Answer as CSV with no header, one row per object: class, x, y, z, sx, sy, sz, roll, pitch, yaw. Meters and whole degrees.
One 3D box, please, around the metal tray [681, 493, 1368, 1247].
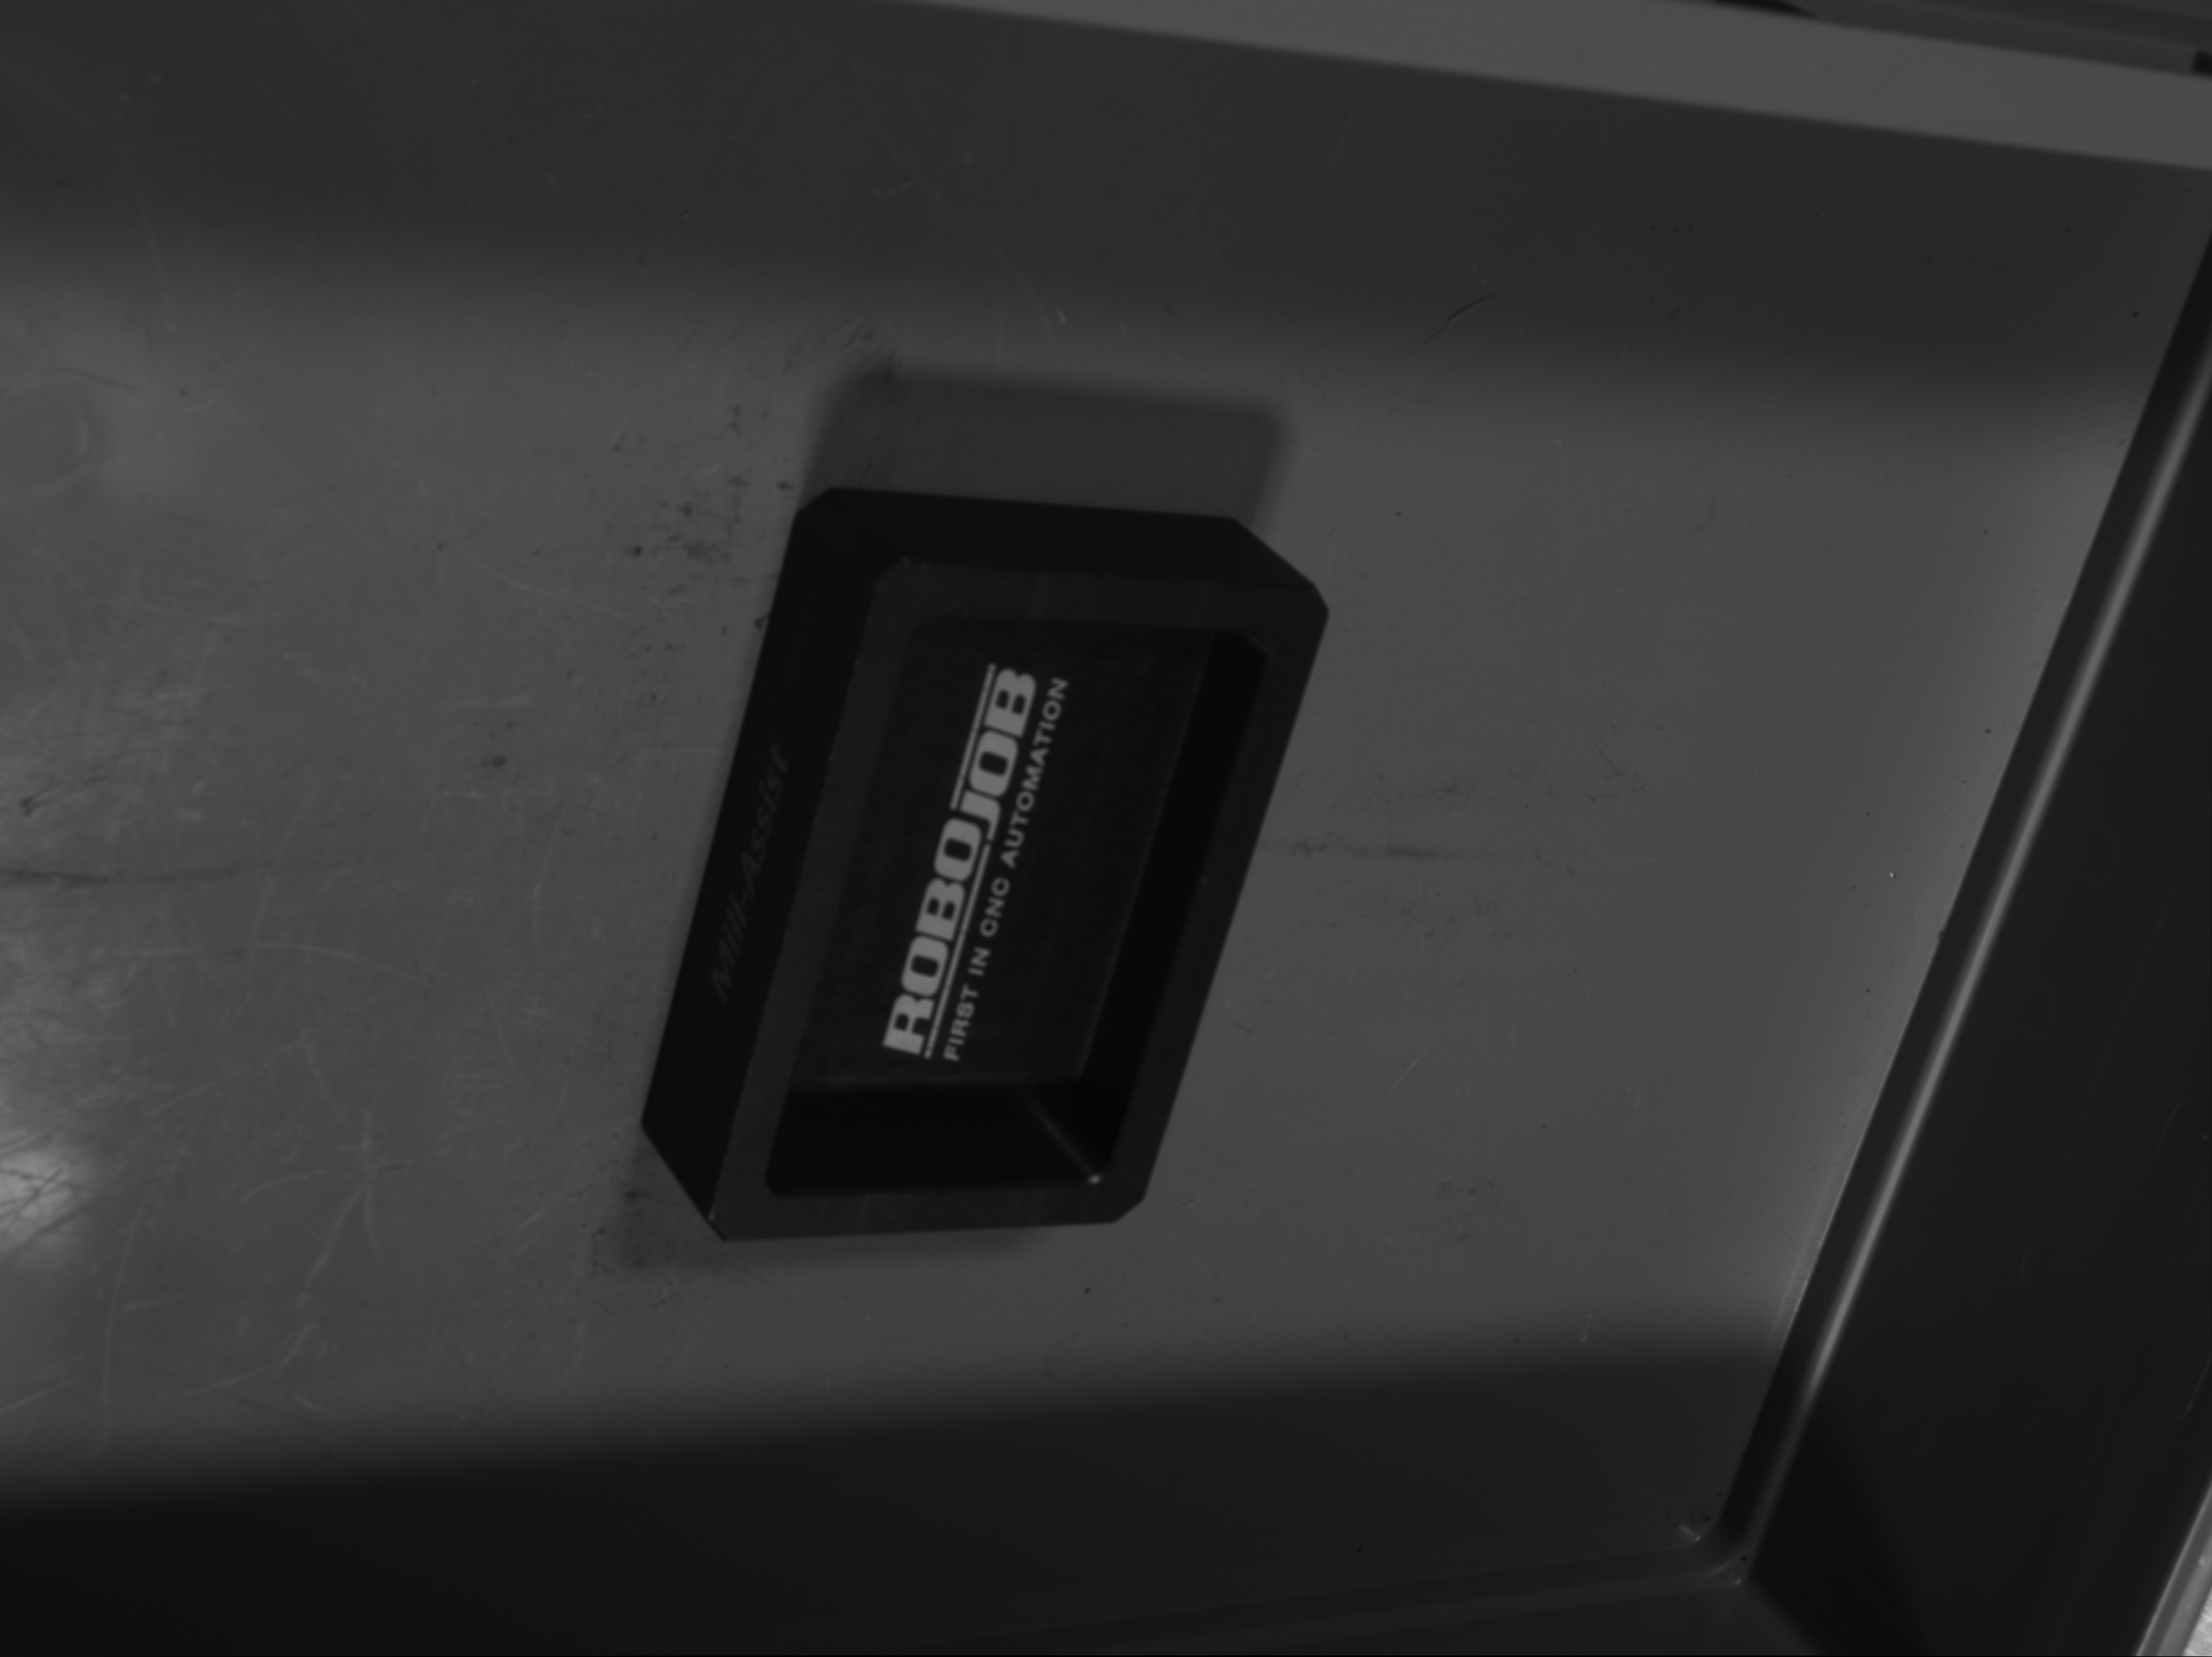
metal tray,-0.015,0.009,0.641,0.090,0.030,0.130,1,117,-32
